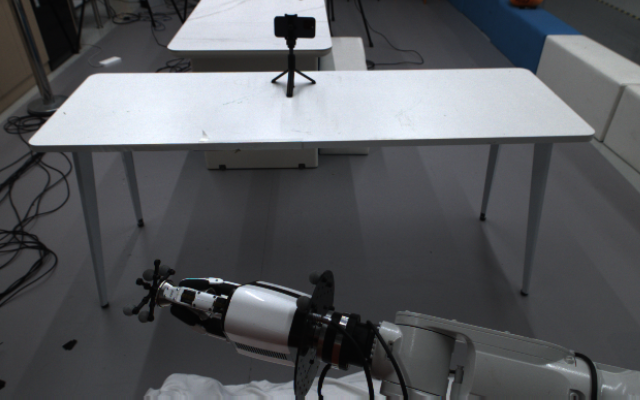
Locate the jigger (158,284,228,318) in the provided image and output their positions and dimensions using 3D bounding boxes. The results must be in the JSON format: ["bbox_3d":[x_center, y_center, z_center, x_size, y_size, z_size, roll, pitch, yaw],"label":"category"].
[{"bbox_3d":[-0.176,0.131,0.654,0.071,0.043,0.043,10,35,16],"label":"jigger"}]
